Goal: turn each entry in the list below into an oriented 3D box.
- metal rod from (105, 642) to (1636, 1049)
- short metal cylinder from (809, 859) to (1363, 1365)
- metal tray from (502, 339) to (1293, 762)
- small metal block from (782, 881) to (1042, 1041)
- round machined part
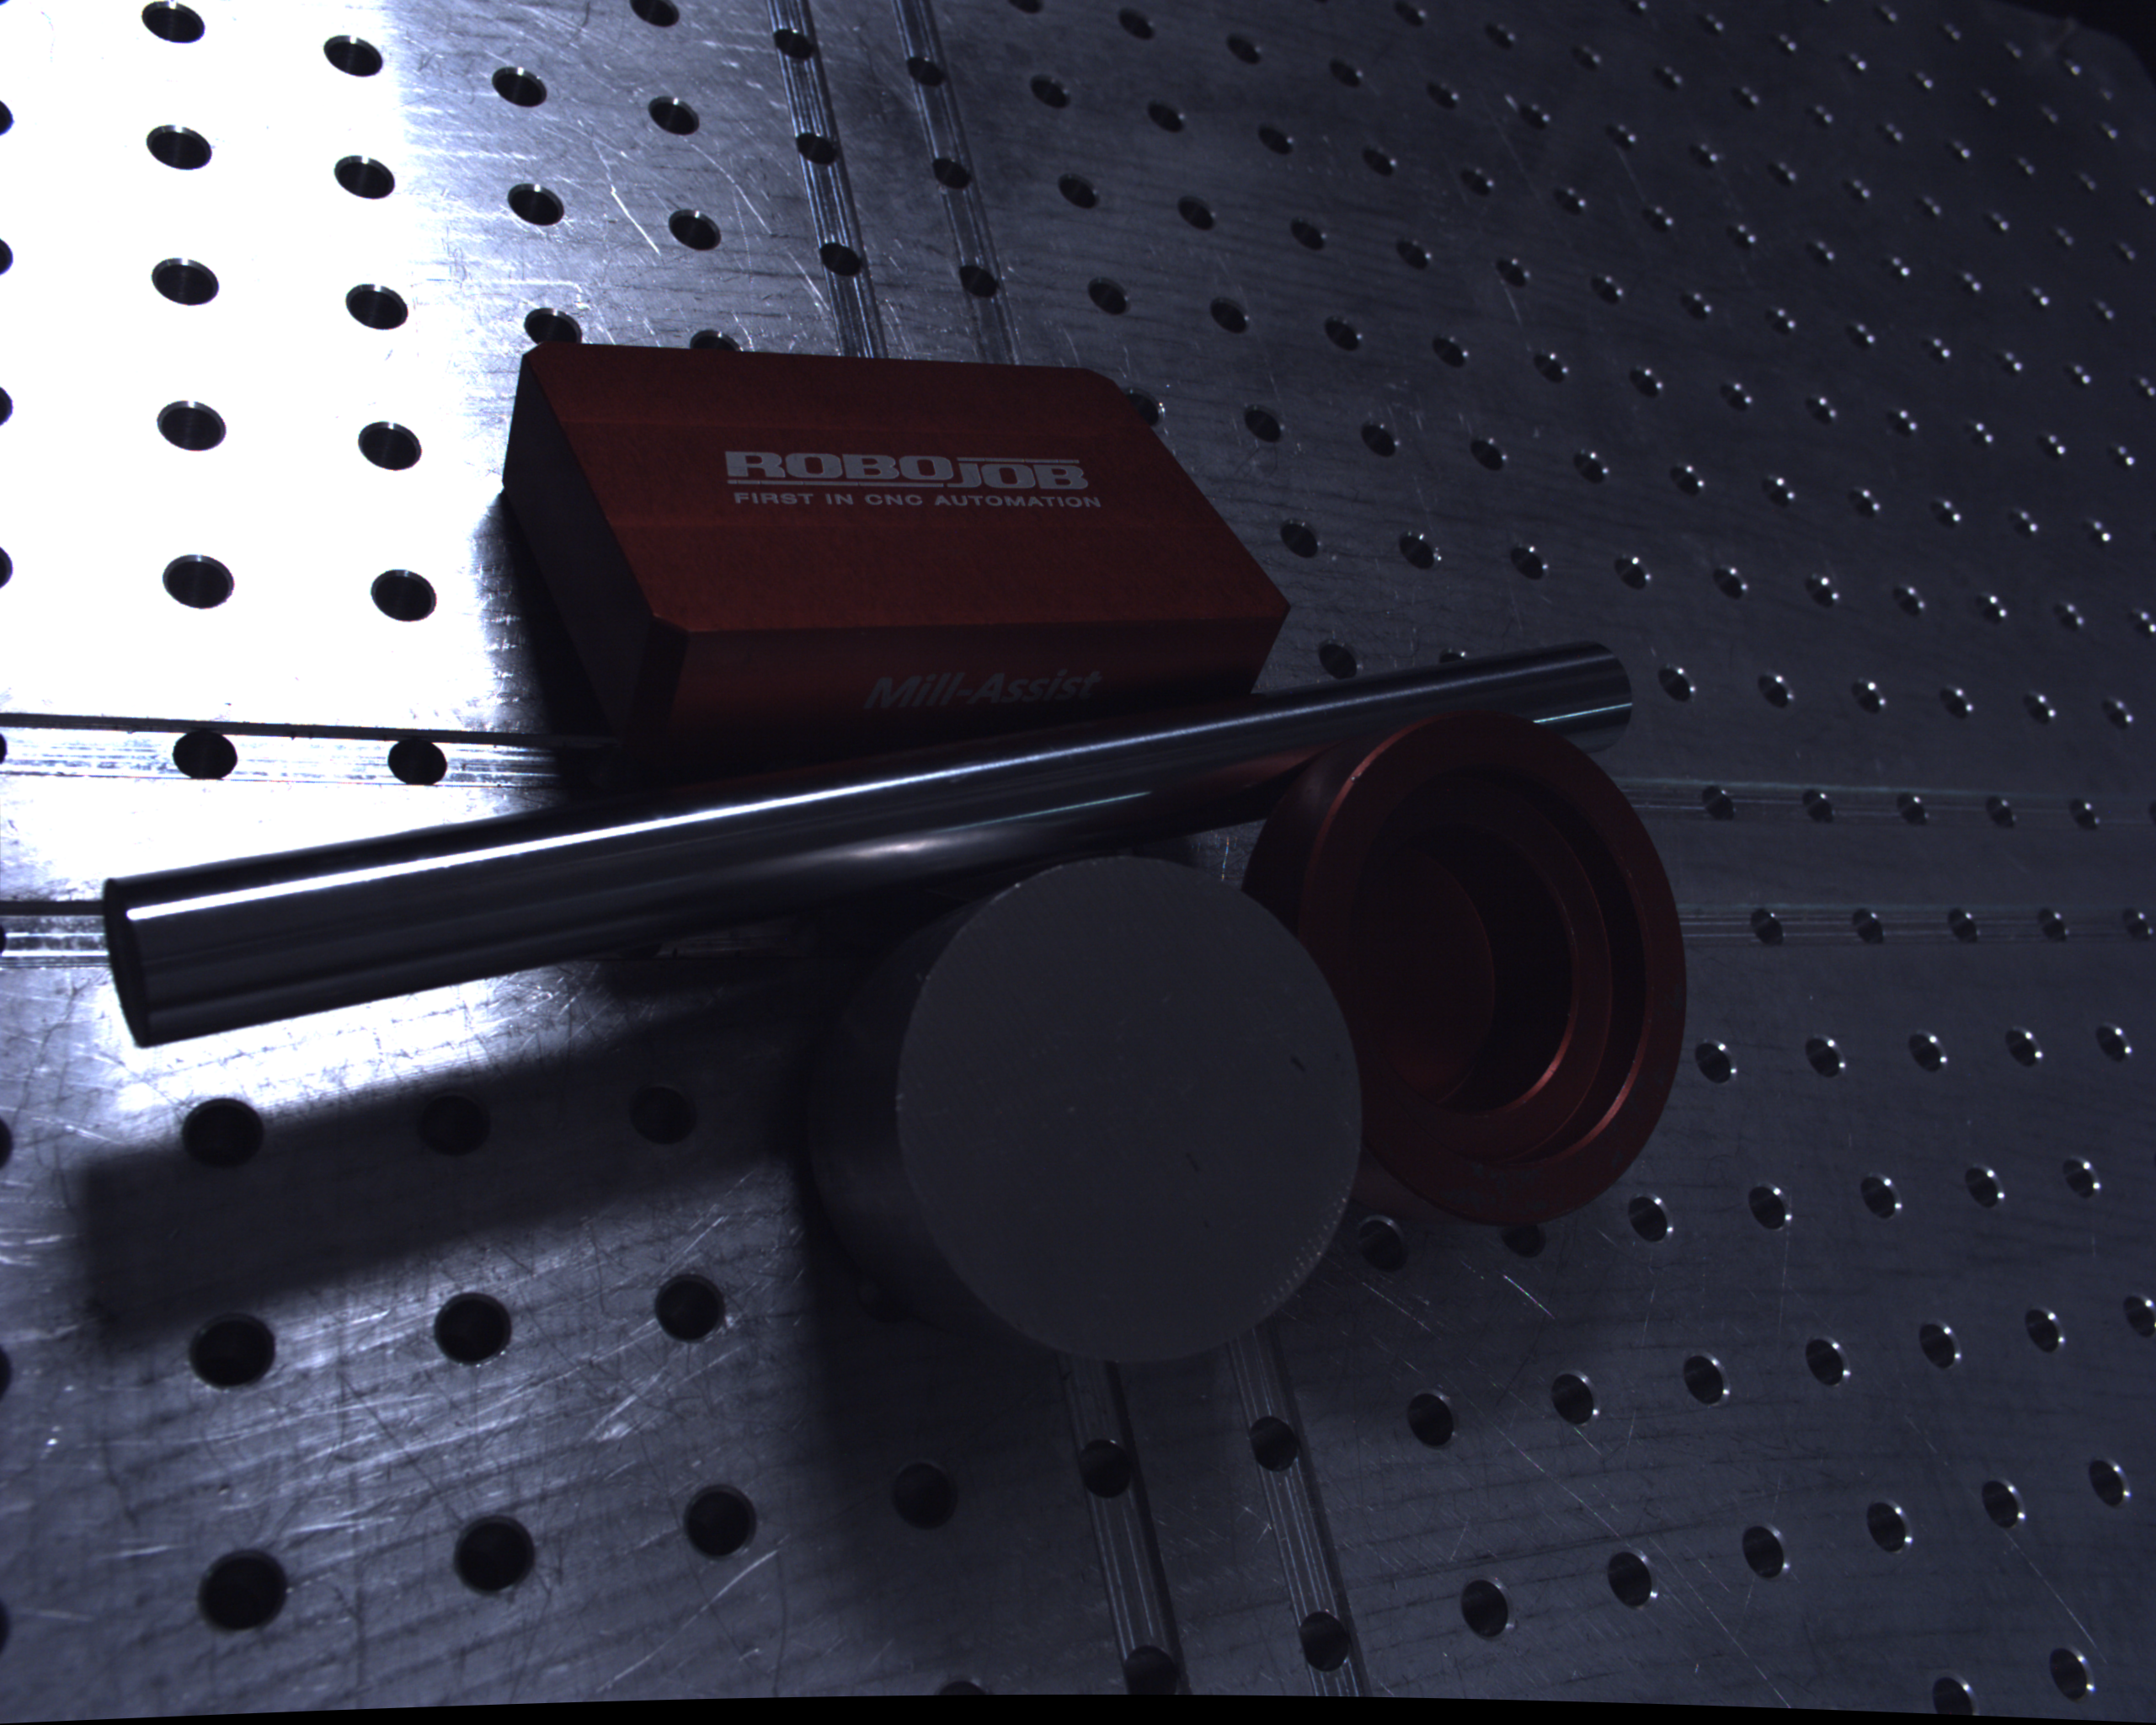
[{"bbox_3d":[-0.010,-0.011,0.378,0.303,0.025,0.025,-12,68,-33],"label":"metal rod"},{"bbox_3d":[0.000,0.043,0.352,0.081,0.050,0.080,4,79,-22],"label":"short metal cylinder"},{"bbox_3d":[-0.035,-0.063,0.408,0.131,0.030,0.090,-5,46,-31],"label":"metal tray"},{"bbox_3d":[-0.025,0.012,0.399,0.050,0.025,0.050,17,55,-19],"label":"small metal block"},{"bbox_3d":[0.070,0.021,0.409,0.099,0.042,0.097,5,81,-32],"label":"round machined part"}]
